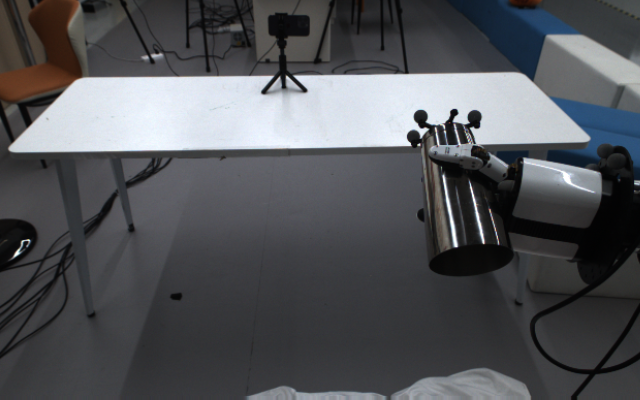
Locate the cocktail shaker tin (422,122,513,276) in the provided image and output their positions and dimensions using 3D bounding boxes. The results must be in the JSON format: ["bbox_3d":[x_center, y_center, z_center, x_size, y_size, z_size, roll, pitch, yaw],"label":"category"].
[{"bbox_3d":[0.163,-0.006,0.573,0.093,0.093,0.170,0,59,-3],"label":"cocktail shaker tin"}]
